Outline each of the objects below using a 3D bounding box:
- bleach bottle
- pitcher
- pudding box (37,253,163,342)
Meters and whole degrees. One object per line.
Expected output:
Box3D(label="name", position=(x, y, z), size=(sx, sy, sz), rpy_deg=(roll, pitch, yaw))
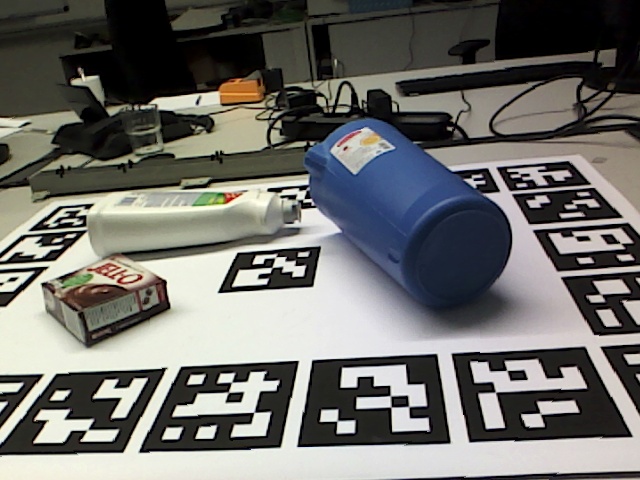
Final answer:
Box3D(label="bleach bottle", position=(-0.155, -0.030, 0.783), size=(0.251, 0.067, 0.103), rpy_deg=(-4, 29, 4))
Box3D(label="pitcher", position=(0.092, -0.016, 0.646), size=(0.187, 0.133, 0.244), rpy_deg=(19, 18, -29))
Box3D(label="pudding box", position=(-0.227, 0.056, 0.637), size=(0.089, 0.038, 0.115), rpy_deg=(-19, 28, -35))
